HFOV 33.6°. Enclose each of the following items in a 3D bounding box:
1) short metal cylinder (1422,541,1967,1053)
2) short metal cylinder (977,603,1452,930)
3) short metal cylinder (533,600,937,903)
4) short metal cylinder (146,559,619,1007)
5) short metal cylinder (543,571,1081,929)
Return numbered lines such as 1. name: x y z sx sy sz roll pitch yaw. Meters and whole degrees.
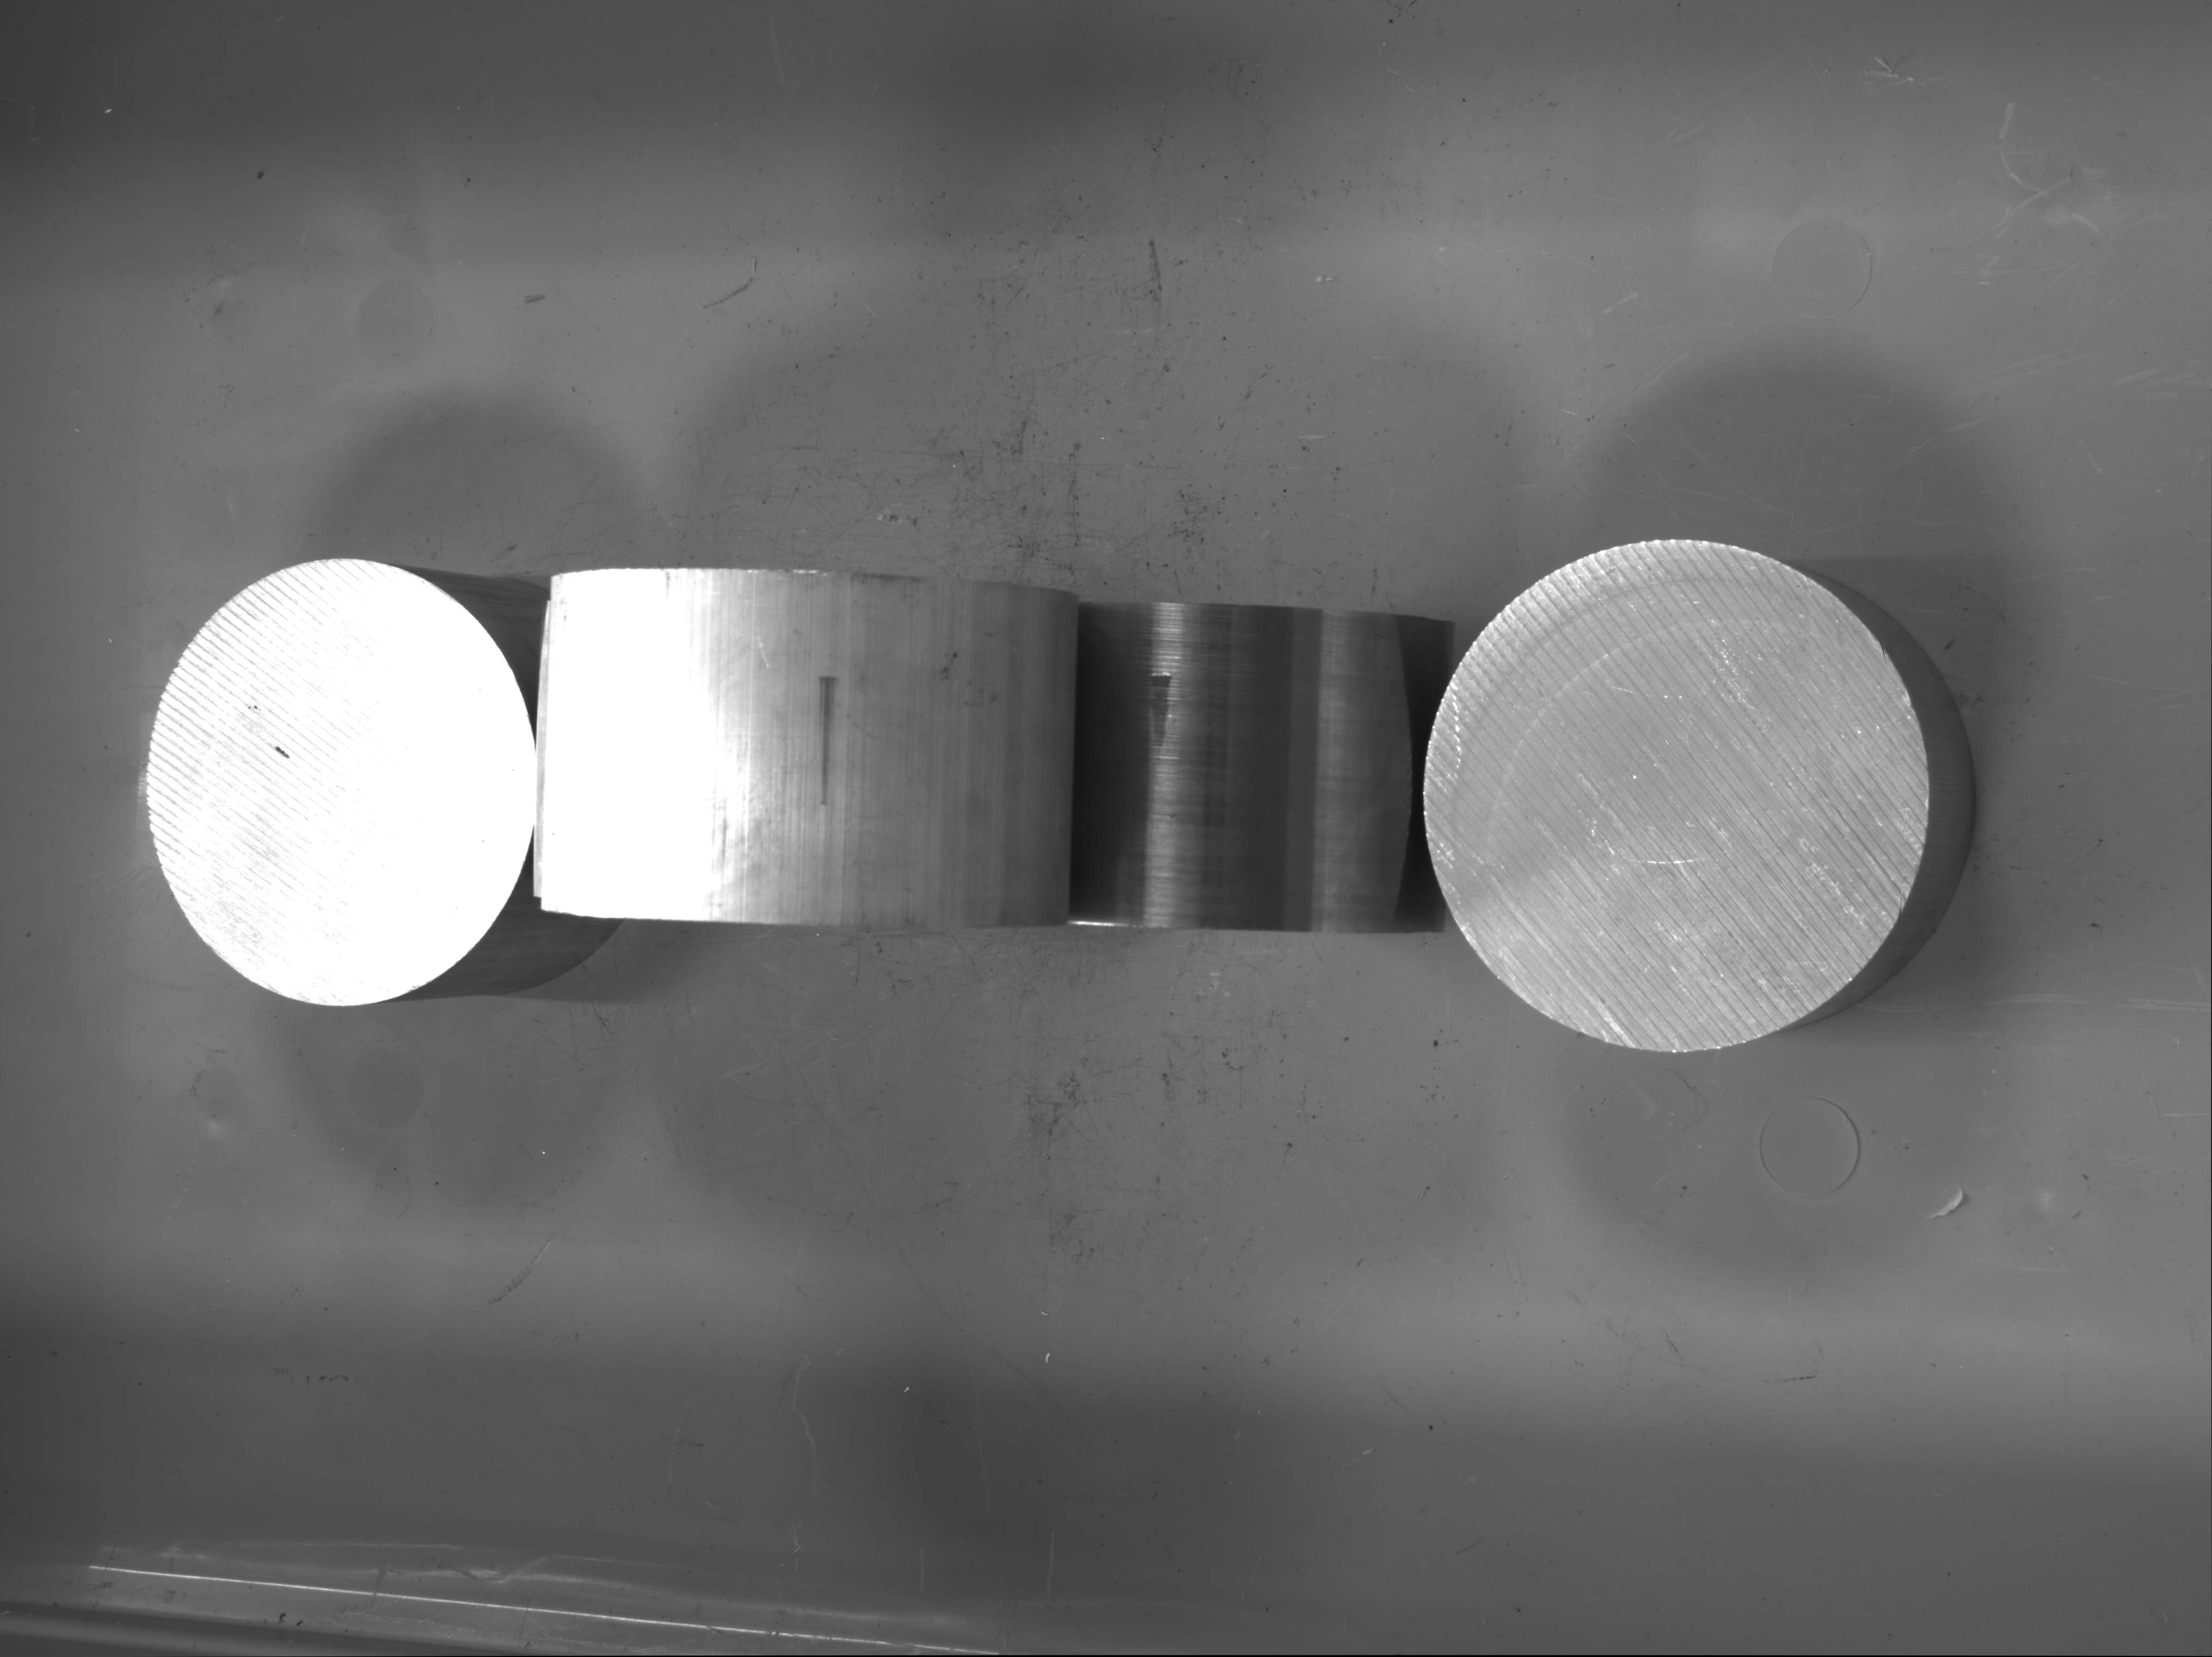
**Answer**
1. short metal cylinder: 0.097 -0.005 0.597 0.080 0.050 0.080 0 90 20
2. short metal cylinder: 0.017 -0.010 0.609 0.080 0.080 0.050 2 90 20
3. short metal cylinder: -0.058 -0.012 0.636 0.080 0.080 0.050 2 90 20
4. short metal cylinder: -0.129 -0.008 0.678 0.080 0.050 0.080 0 90 20
5. short metal cylinder: -0.045 -0.011 0.559 0.080 0.080 0.050 2 90 20
